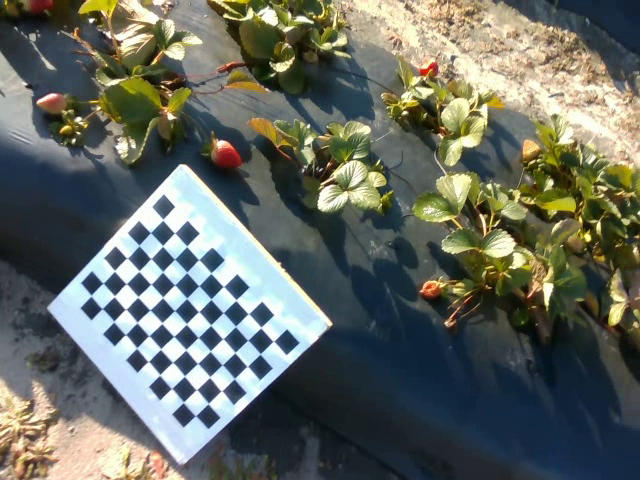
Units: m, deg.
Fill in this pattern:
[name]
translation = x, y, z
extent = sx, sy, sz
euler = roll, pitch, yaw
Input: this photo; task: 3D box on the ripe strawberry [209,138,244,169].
[ripe strawberry]
translation = -0.139, -0.126, 0.876
extent = 0.063, 0.045, 0.043
euler = 29, 9, 5
